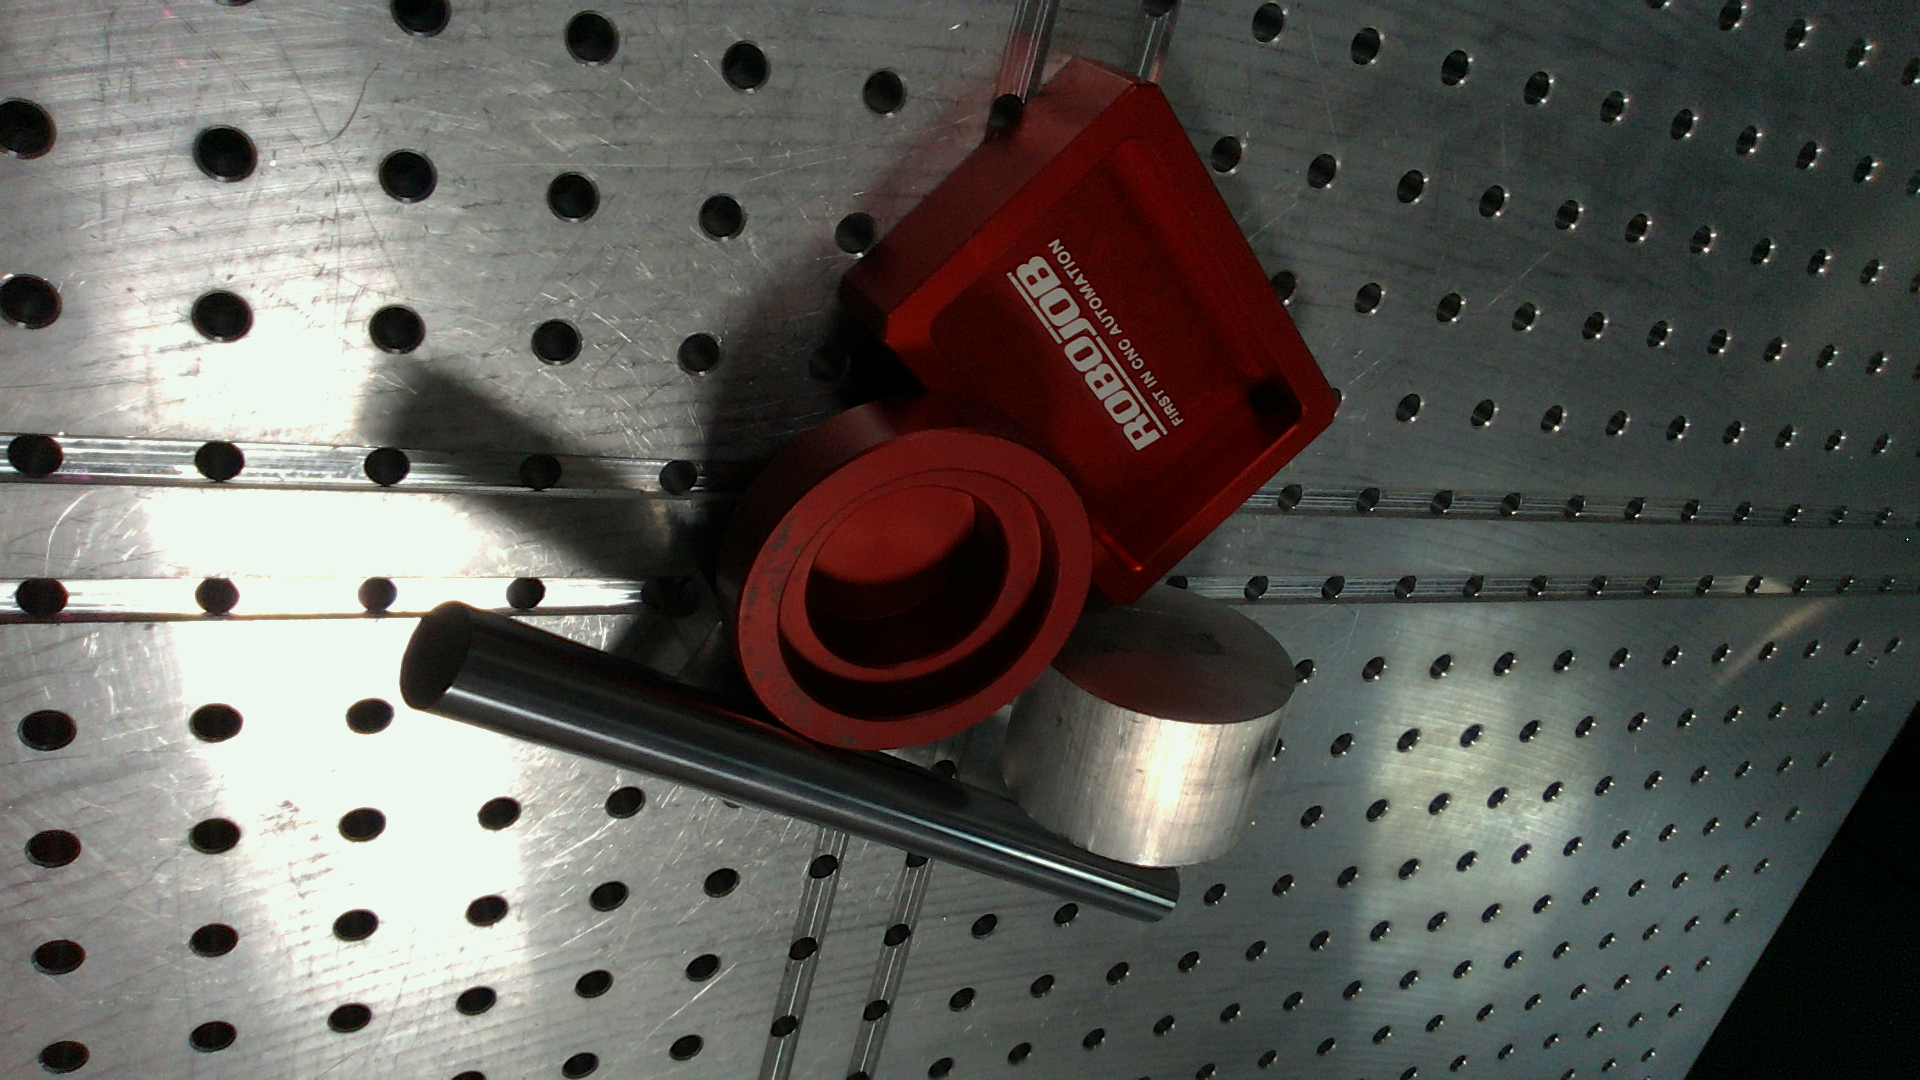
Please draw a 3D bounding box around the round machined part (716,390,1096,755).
[{"bbox_3d":[-0.017,0.005,0.365,0.098,0.042,0.098,-12,123,-19],"label":"round machined part"}]

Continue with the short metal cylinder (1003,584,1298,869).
[{"bbox_3d":[0.056,0.054,0.419,0.080,0.080,0.050,-4,120,-26],"label":"short metal cylinder"}]

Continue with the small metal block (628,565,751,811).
[{"bbox_3d":[-0.065,0.042,0.383,0.050,0.025,0.050,32,101,-38],"label":"small metal block"}]

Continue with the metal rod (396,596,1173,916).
[{"bbox_3d":[-0.022,0.075,0.400,0.025,0.025,0.301,-51,137,8],"label":"metal rod"}]

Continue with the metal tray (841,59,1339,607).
[{"bbox_3d":[0.041,-0.051,0.379,0.090,0.030,0.130,-43,129,1],"label":"metal tray"}]
